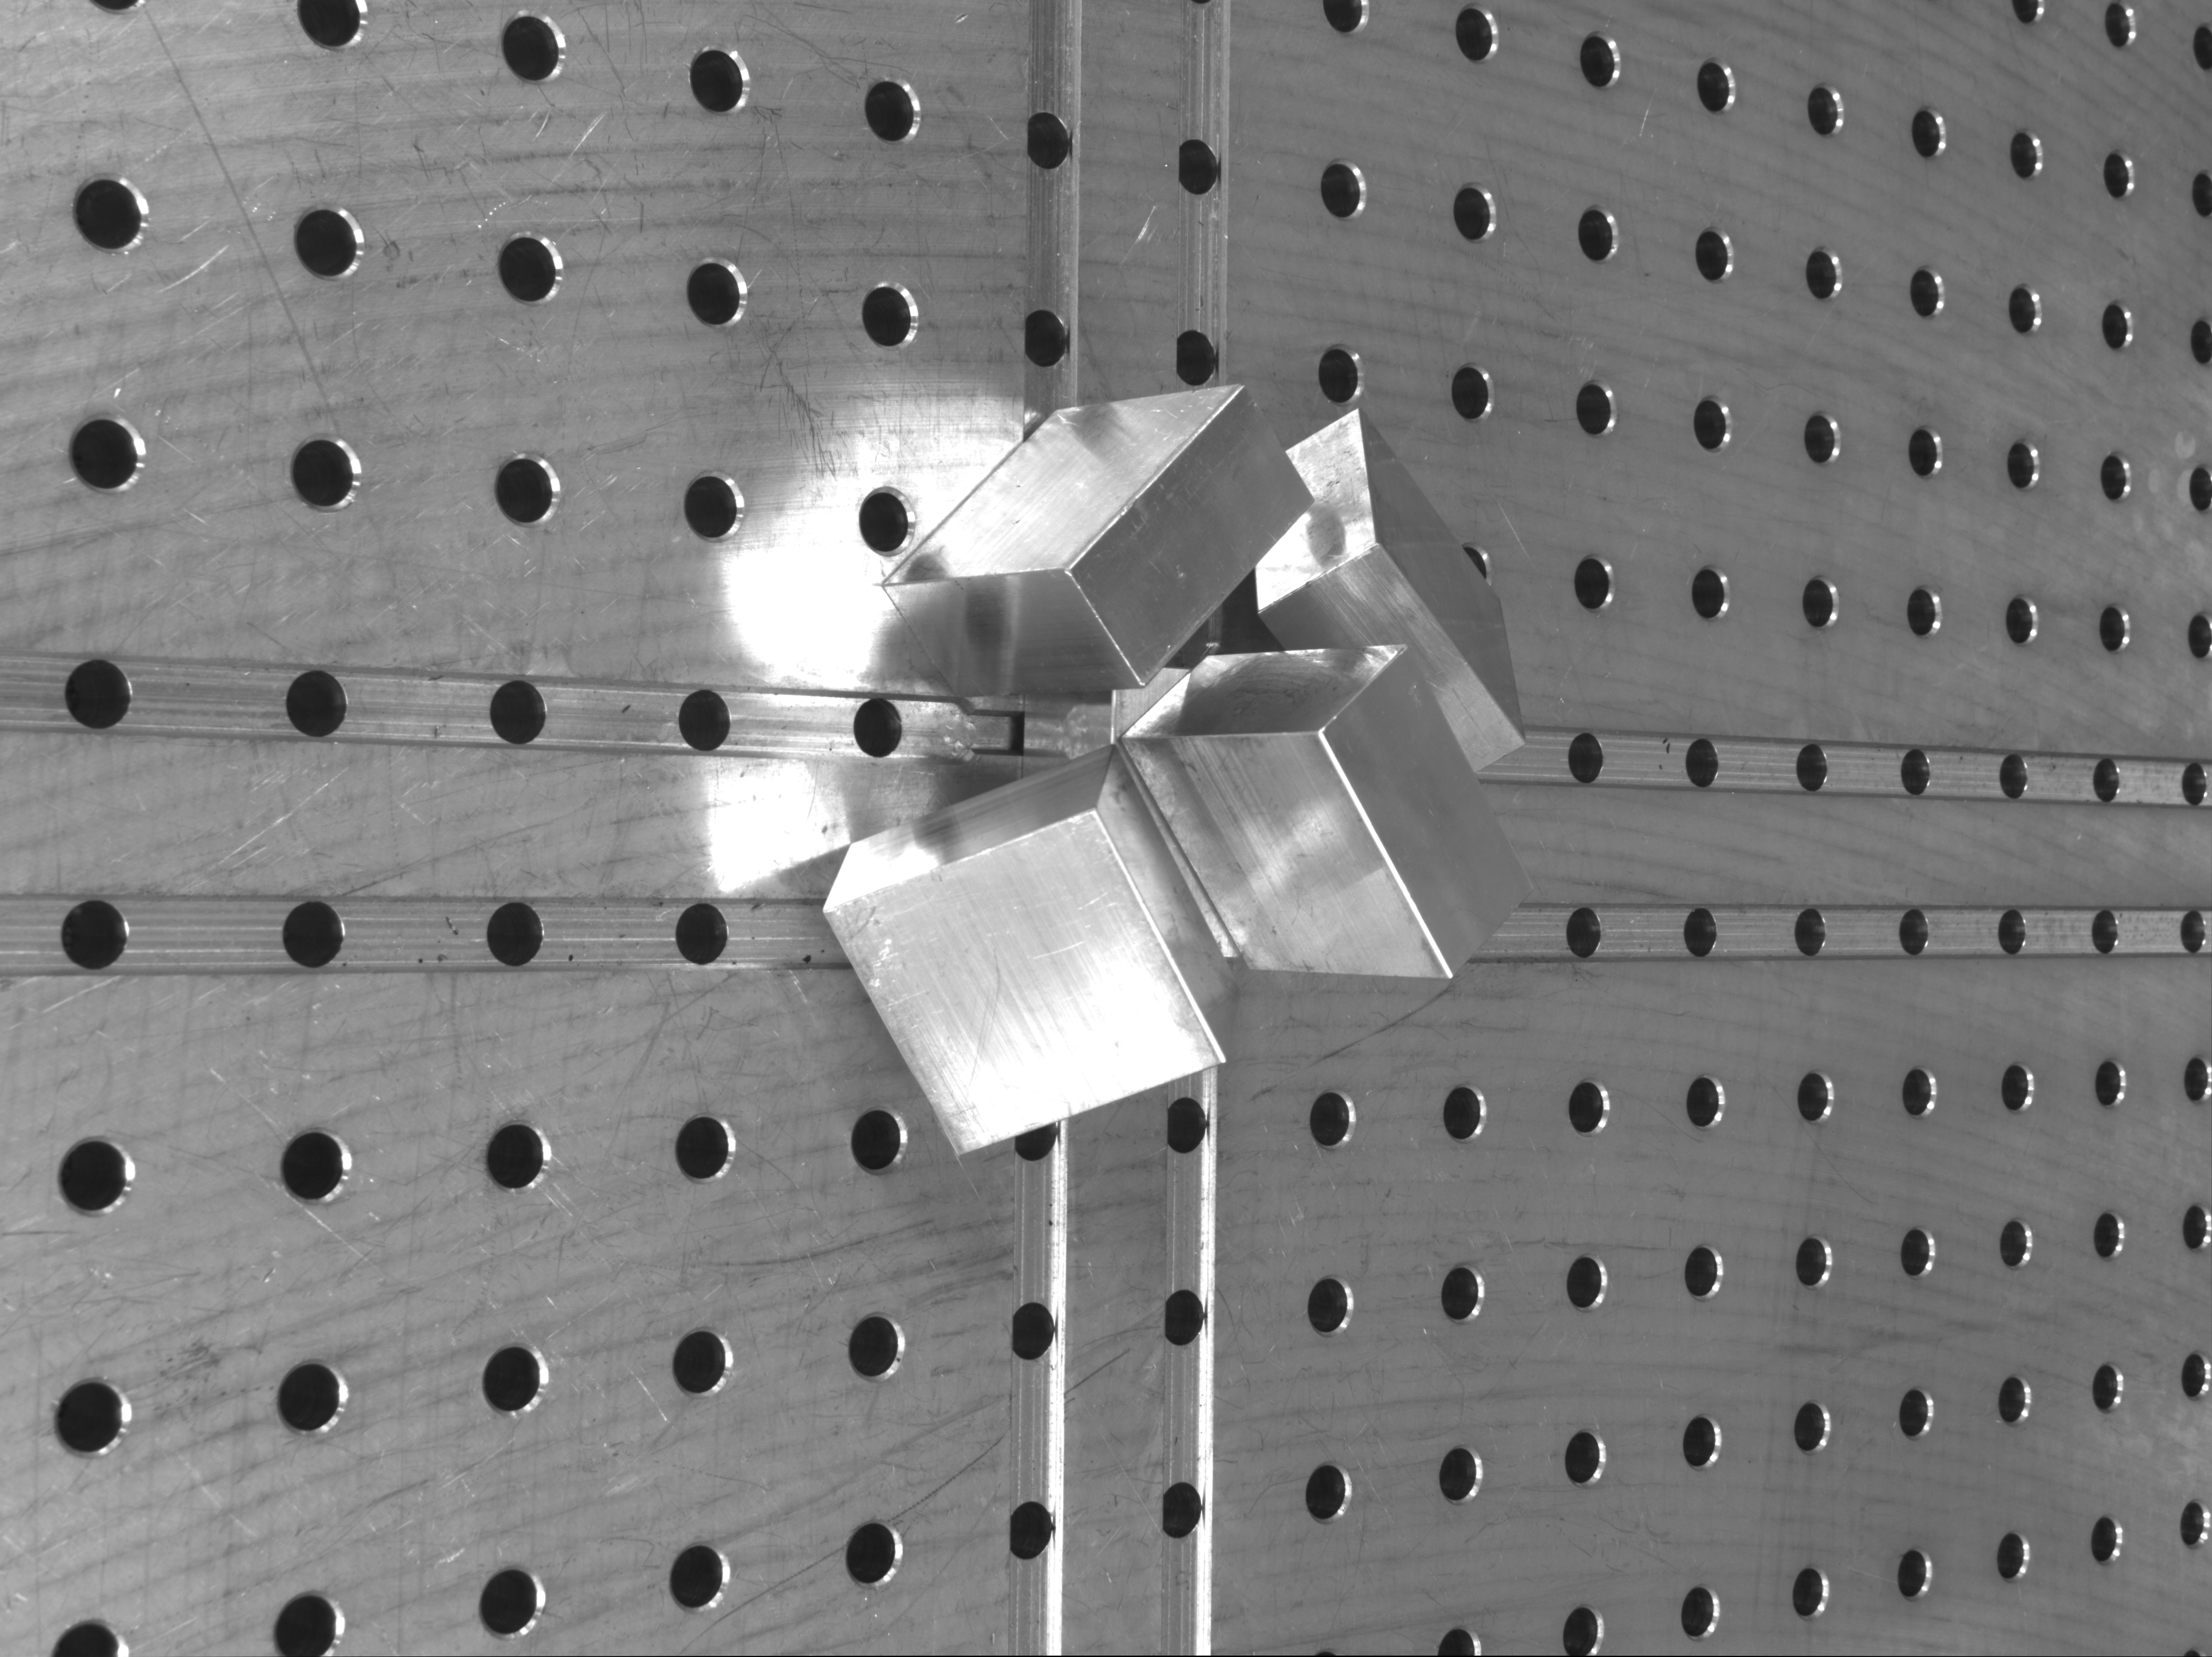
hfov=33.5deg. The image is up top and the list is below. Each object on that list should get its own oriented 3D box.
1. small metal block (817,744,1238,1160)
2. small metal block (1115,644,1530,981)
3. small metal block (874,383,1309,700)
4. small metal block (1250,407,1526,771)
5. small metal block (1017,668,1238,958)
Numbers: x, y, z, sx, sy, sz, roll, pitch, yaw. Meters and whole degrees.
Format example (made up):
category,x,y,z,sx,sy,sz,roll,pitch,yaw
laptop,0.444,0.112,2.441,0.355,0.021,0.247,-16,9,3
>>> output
category,x,y,z,sx,sy,sz,roll,pitch,yaw
small metal block,-0.012,0.021,0.609,0.050,0.050,0.025,63,18,-21
small metal block,0.036,-0.002,0.621,0.025,0.050,0.050,-44,117,-32
small metal block,-0.003,-0.048,0.621,0.050,0.050,0.025,-48,118,-29
small metal block,0.050,-0.040,0.663,0.050,0.025,0.050,50,21,-28
small metal block,0.012,-0.002,0.648,0.050,0.025,0.050,1,89,-41
